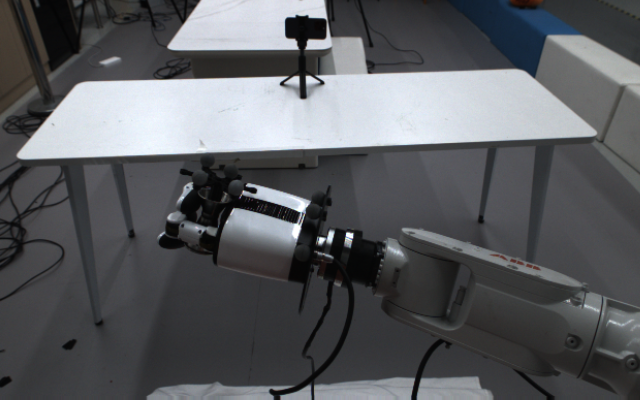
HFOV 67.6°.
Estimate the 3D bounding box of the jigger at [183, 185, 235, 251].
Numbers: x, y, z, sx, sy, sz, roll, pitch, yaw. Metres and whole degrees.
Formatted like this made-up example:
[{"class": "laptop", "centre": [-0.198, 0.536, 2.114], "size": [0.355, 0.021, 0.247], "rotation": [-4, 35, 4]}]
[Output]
[{"class": "jigger", "centre": [-0.130, 0.025, 0.572], "size": [0.043, 0.071, 0.043], "rotation": [18, 17, -6]}]
